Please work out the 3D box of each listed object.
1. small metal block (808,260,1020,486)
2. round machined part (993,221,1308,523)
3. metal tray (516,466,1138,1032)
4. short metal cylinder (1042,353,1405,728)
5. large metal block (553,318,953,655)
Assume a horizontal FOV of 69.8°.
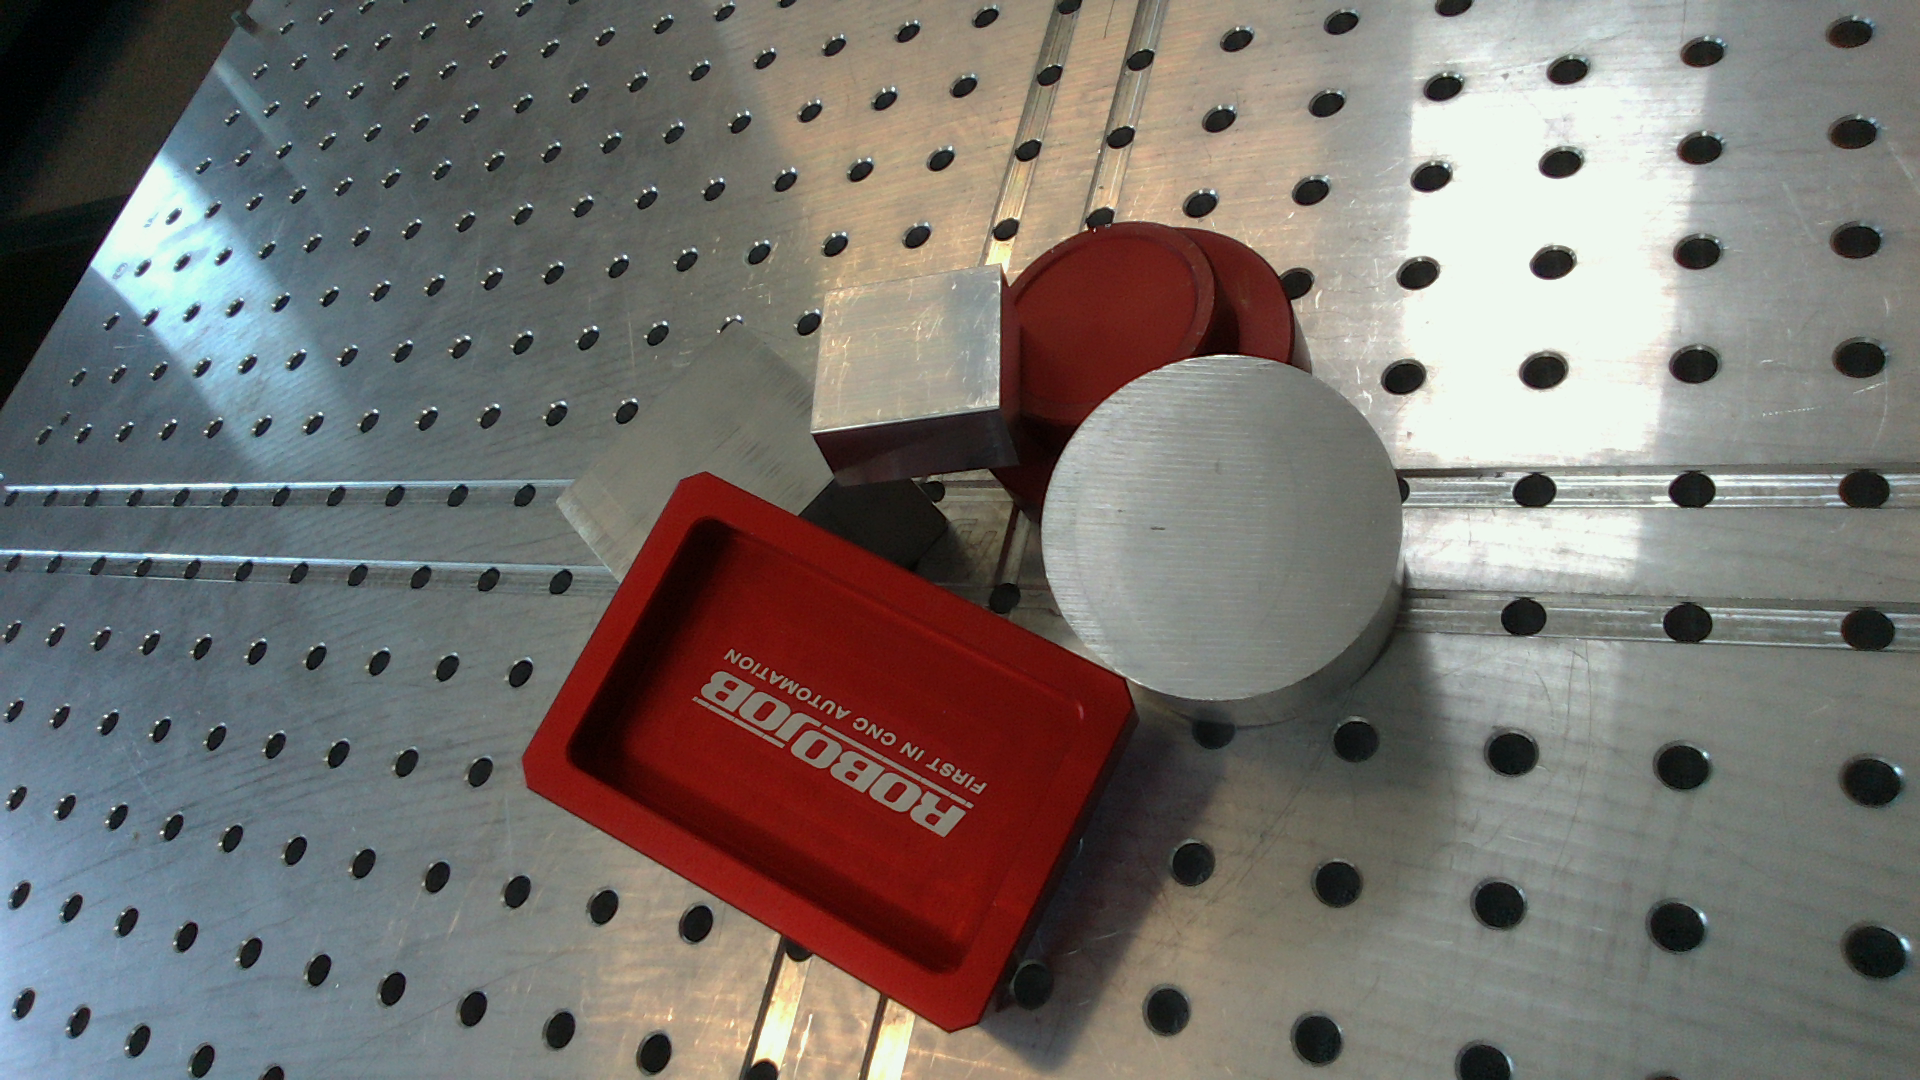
[{"bbox_3d":[-0.011,-0.045,0.370,0.050,0.025,0.050,-6,55,12],"label":"small metal block"},{"bbox_3d":[0.046,-0.051,0.392,0.098,0.042,0.098,-13,56,21],"label":"round machined part"},{"bbox_3d":[-0.032,0.049,0.344,0.130,0.030,0.090,26,82,14],"label":"metal tray"},{"bbox_3d":[0.065,0.002,0.330,0.080,0.050,0.080,-4,74,16],"label":"short metal cylinder"},{"bbox_3d":[-0.064,-0.008,0.420,0.080,0.050,0.080,-46,51,-4],"label":"large metal block"}]
